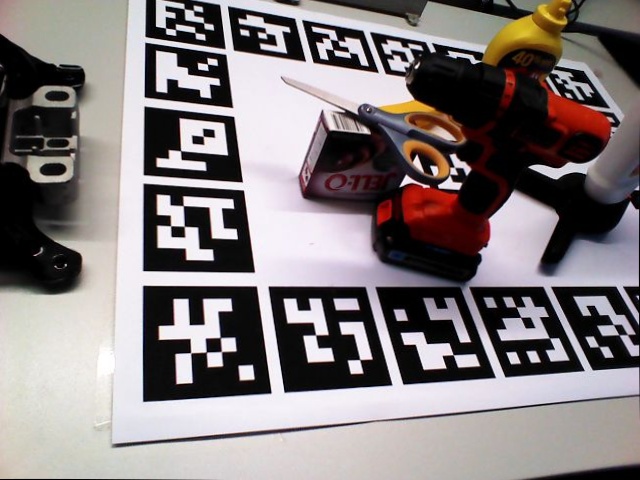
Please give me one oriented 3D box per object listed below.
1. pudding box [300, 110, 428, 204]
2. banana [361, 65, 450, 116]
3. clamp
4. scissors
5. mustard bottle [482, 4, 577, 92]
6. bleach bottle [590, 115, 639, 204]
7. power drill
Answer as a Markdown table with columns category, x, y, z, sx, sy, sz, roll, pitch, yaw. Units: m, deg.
| category | x | y | z | sx | sy | sz | roll | pitch | yaw |
| --- | --- | --- | --- | --- | --- | --- | --- | --- | --- |
| pudding box | 0.045 | -0.087 | 0.557 | 0.113 | 0.090 | 0.038 | 6 | 47 | -18 |
| banana | 0.138 | -0.196 | 0.698 | 0.074 | 0.039 | 0.196 | 31 | 49 | 24 |
| clamp | 0.340 | -0.054 | 0.664 | 0.202 | 0.037 | 0.165 | -3 | 59 | -25 |
| scissors | 0.055 | -0.129 | 0.507 | 0.203 | 0.016 | 0.087 | 25 | 54 | -9 |
| mustard bottle | 0.262 | -0.217 | 0.677 | 0.096 | 0.193 | 0.058 | 14 | 52 | -13 |
| bleach bottle | 0.402 | -0.125 | 0.603 | 0.102 | 0.252 | 0.068 | -19 | 61 | -23 |
| power drill | 0.138 | -0.059 | 0.472 | 0.184 | 0.188 | 0.057 | 11 | 46 | -10 |
